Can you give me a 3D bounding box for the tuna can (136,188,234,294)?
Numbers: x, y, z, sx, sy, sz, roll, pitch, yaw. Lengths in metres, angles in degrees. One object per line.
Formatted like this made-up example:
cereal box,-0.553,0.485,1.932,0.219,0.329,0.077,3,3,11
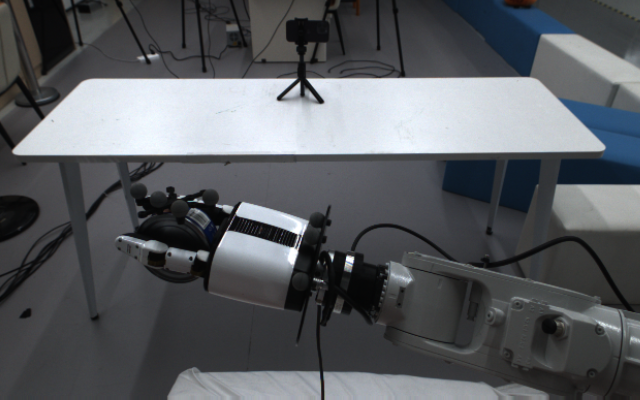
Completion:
tuna can,-0.155,0.048,0.537,0.085,0.085,0.034,6,22,5
